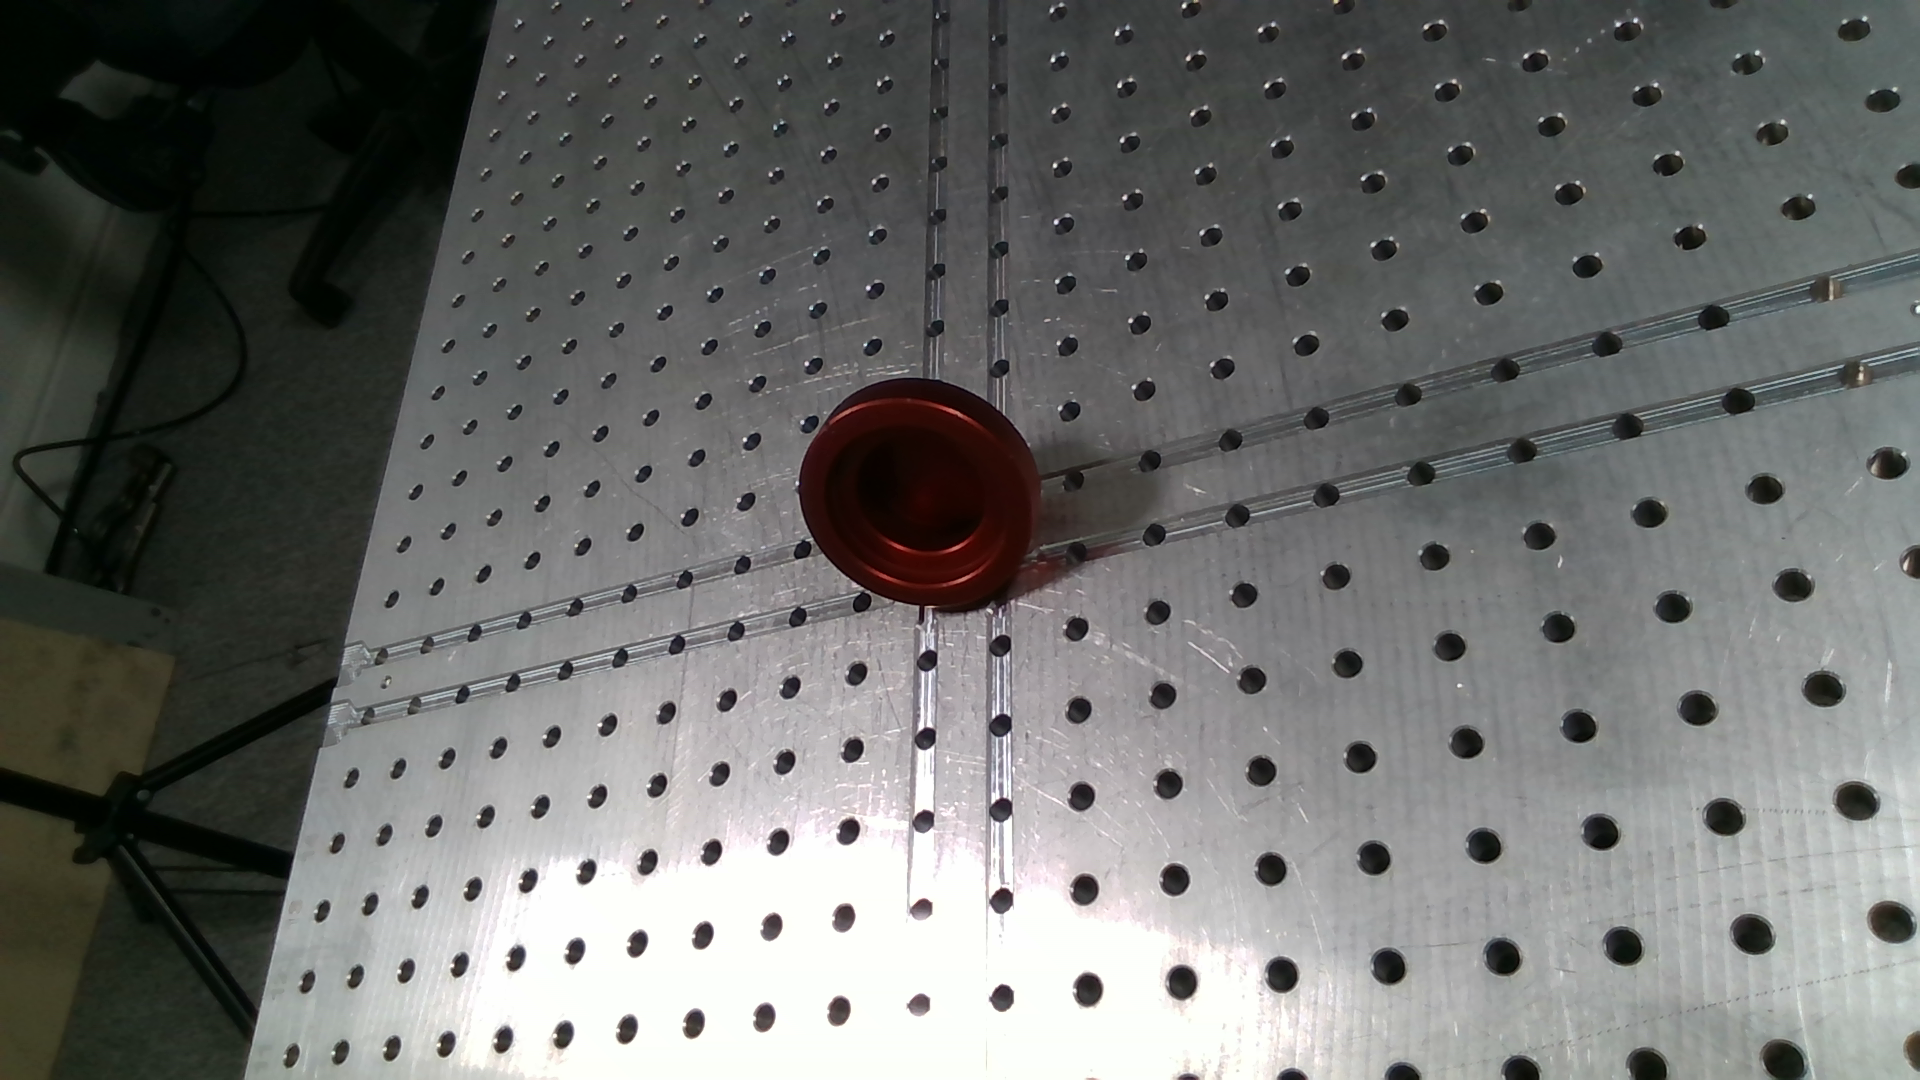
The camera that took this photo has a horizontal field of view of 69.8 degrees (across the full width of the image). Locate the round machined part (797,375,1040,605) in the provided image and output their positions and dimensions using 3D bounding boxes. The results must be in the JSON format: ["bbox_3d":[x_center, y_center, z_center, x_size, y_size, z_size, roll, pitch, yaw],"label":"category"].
[{"bbox_3d":[-0.015,-0.024,0.575,0.098,0.098,0.042,-17,26,24],"label":"round machined part"}]
